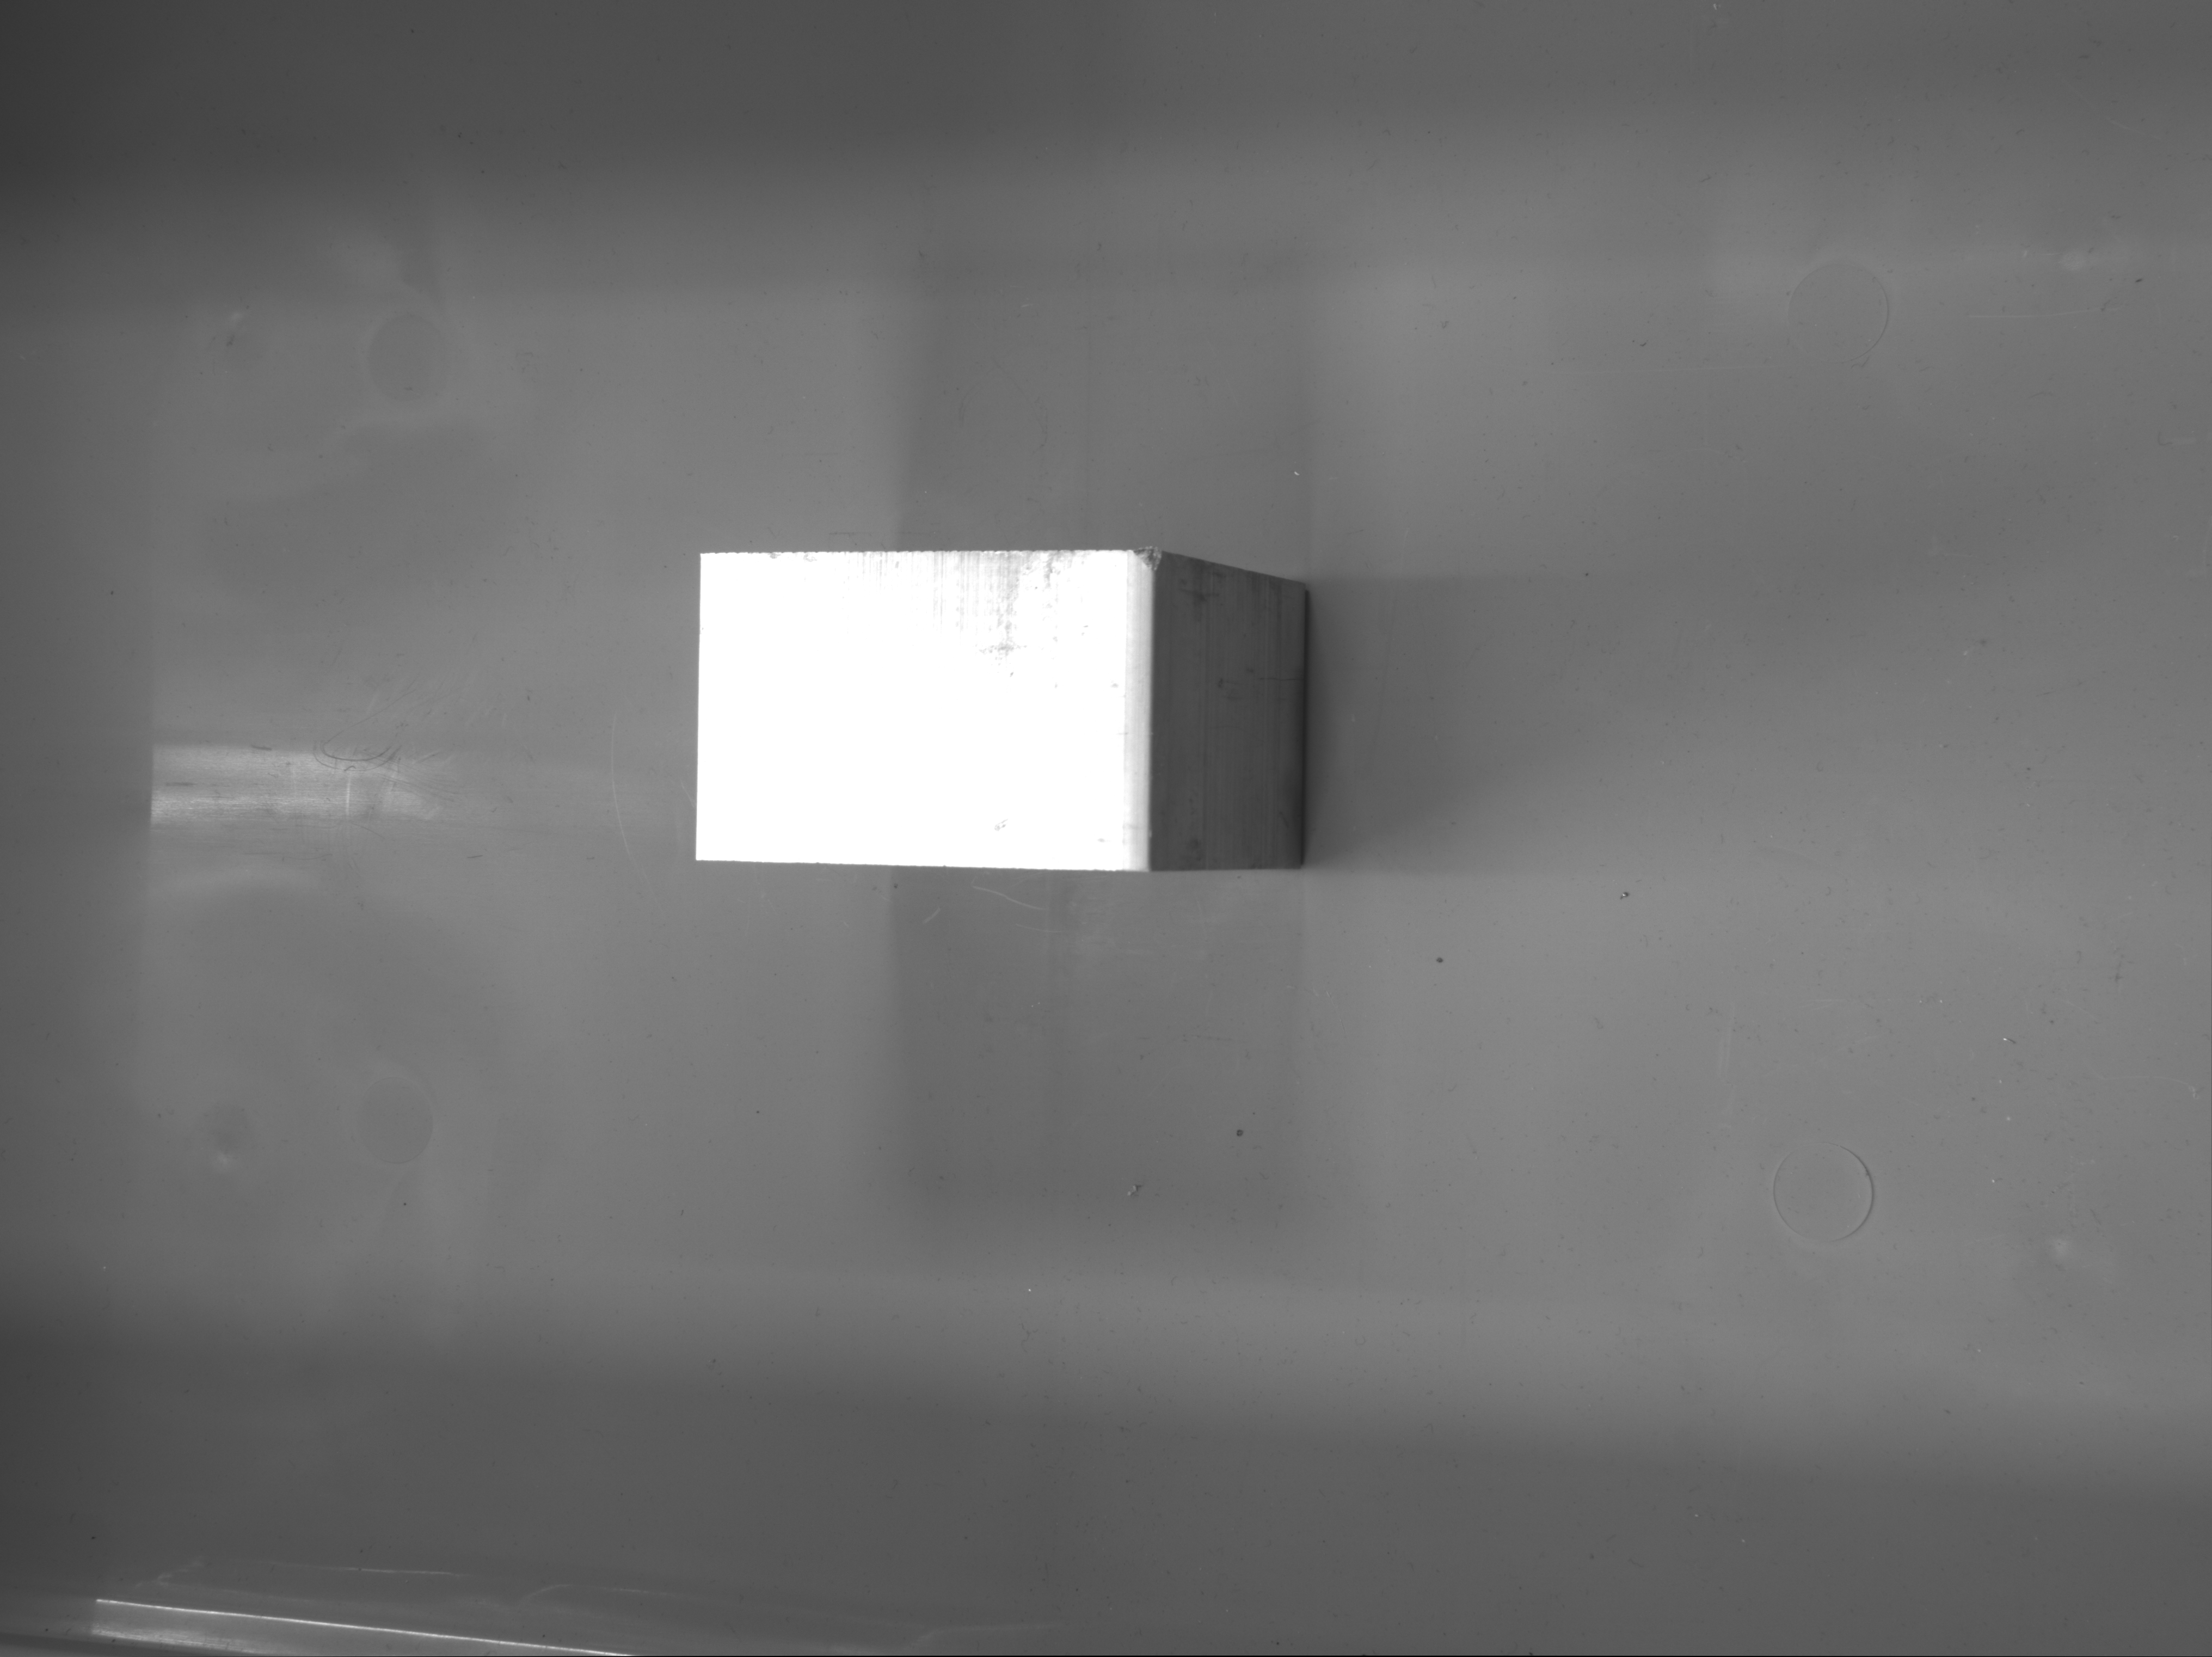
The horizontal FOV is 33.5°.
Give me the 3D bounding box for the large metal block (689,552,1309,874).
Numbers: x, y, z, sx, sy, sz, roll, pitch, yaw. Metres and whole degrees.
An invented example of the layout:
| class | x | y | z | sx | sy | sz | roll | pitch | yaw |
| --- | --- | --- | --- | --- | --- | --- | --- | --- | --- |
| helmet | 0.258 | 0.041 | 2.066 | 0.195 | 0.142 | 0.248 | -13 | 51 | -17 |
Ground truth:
| class | x | y | z | sx | sy | sz | roll | pitch | yaw |
| --- | --- | --- | --- | --- | --- | --- | --- | --- | --- |
| large metal block | -0.016 | -0.019 | 0.622 | 0.080 | 0.080 | 0.050 | 1 | 90 | 20 |
